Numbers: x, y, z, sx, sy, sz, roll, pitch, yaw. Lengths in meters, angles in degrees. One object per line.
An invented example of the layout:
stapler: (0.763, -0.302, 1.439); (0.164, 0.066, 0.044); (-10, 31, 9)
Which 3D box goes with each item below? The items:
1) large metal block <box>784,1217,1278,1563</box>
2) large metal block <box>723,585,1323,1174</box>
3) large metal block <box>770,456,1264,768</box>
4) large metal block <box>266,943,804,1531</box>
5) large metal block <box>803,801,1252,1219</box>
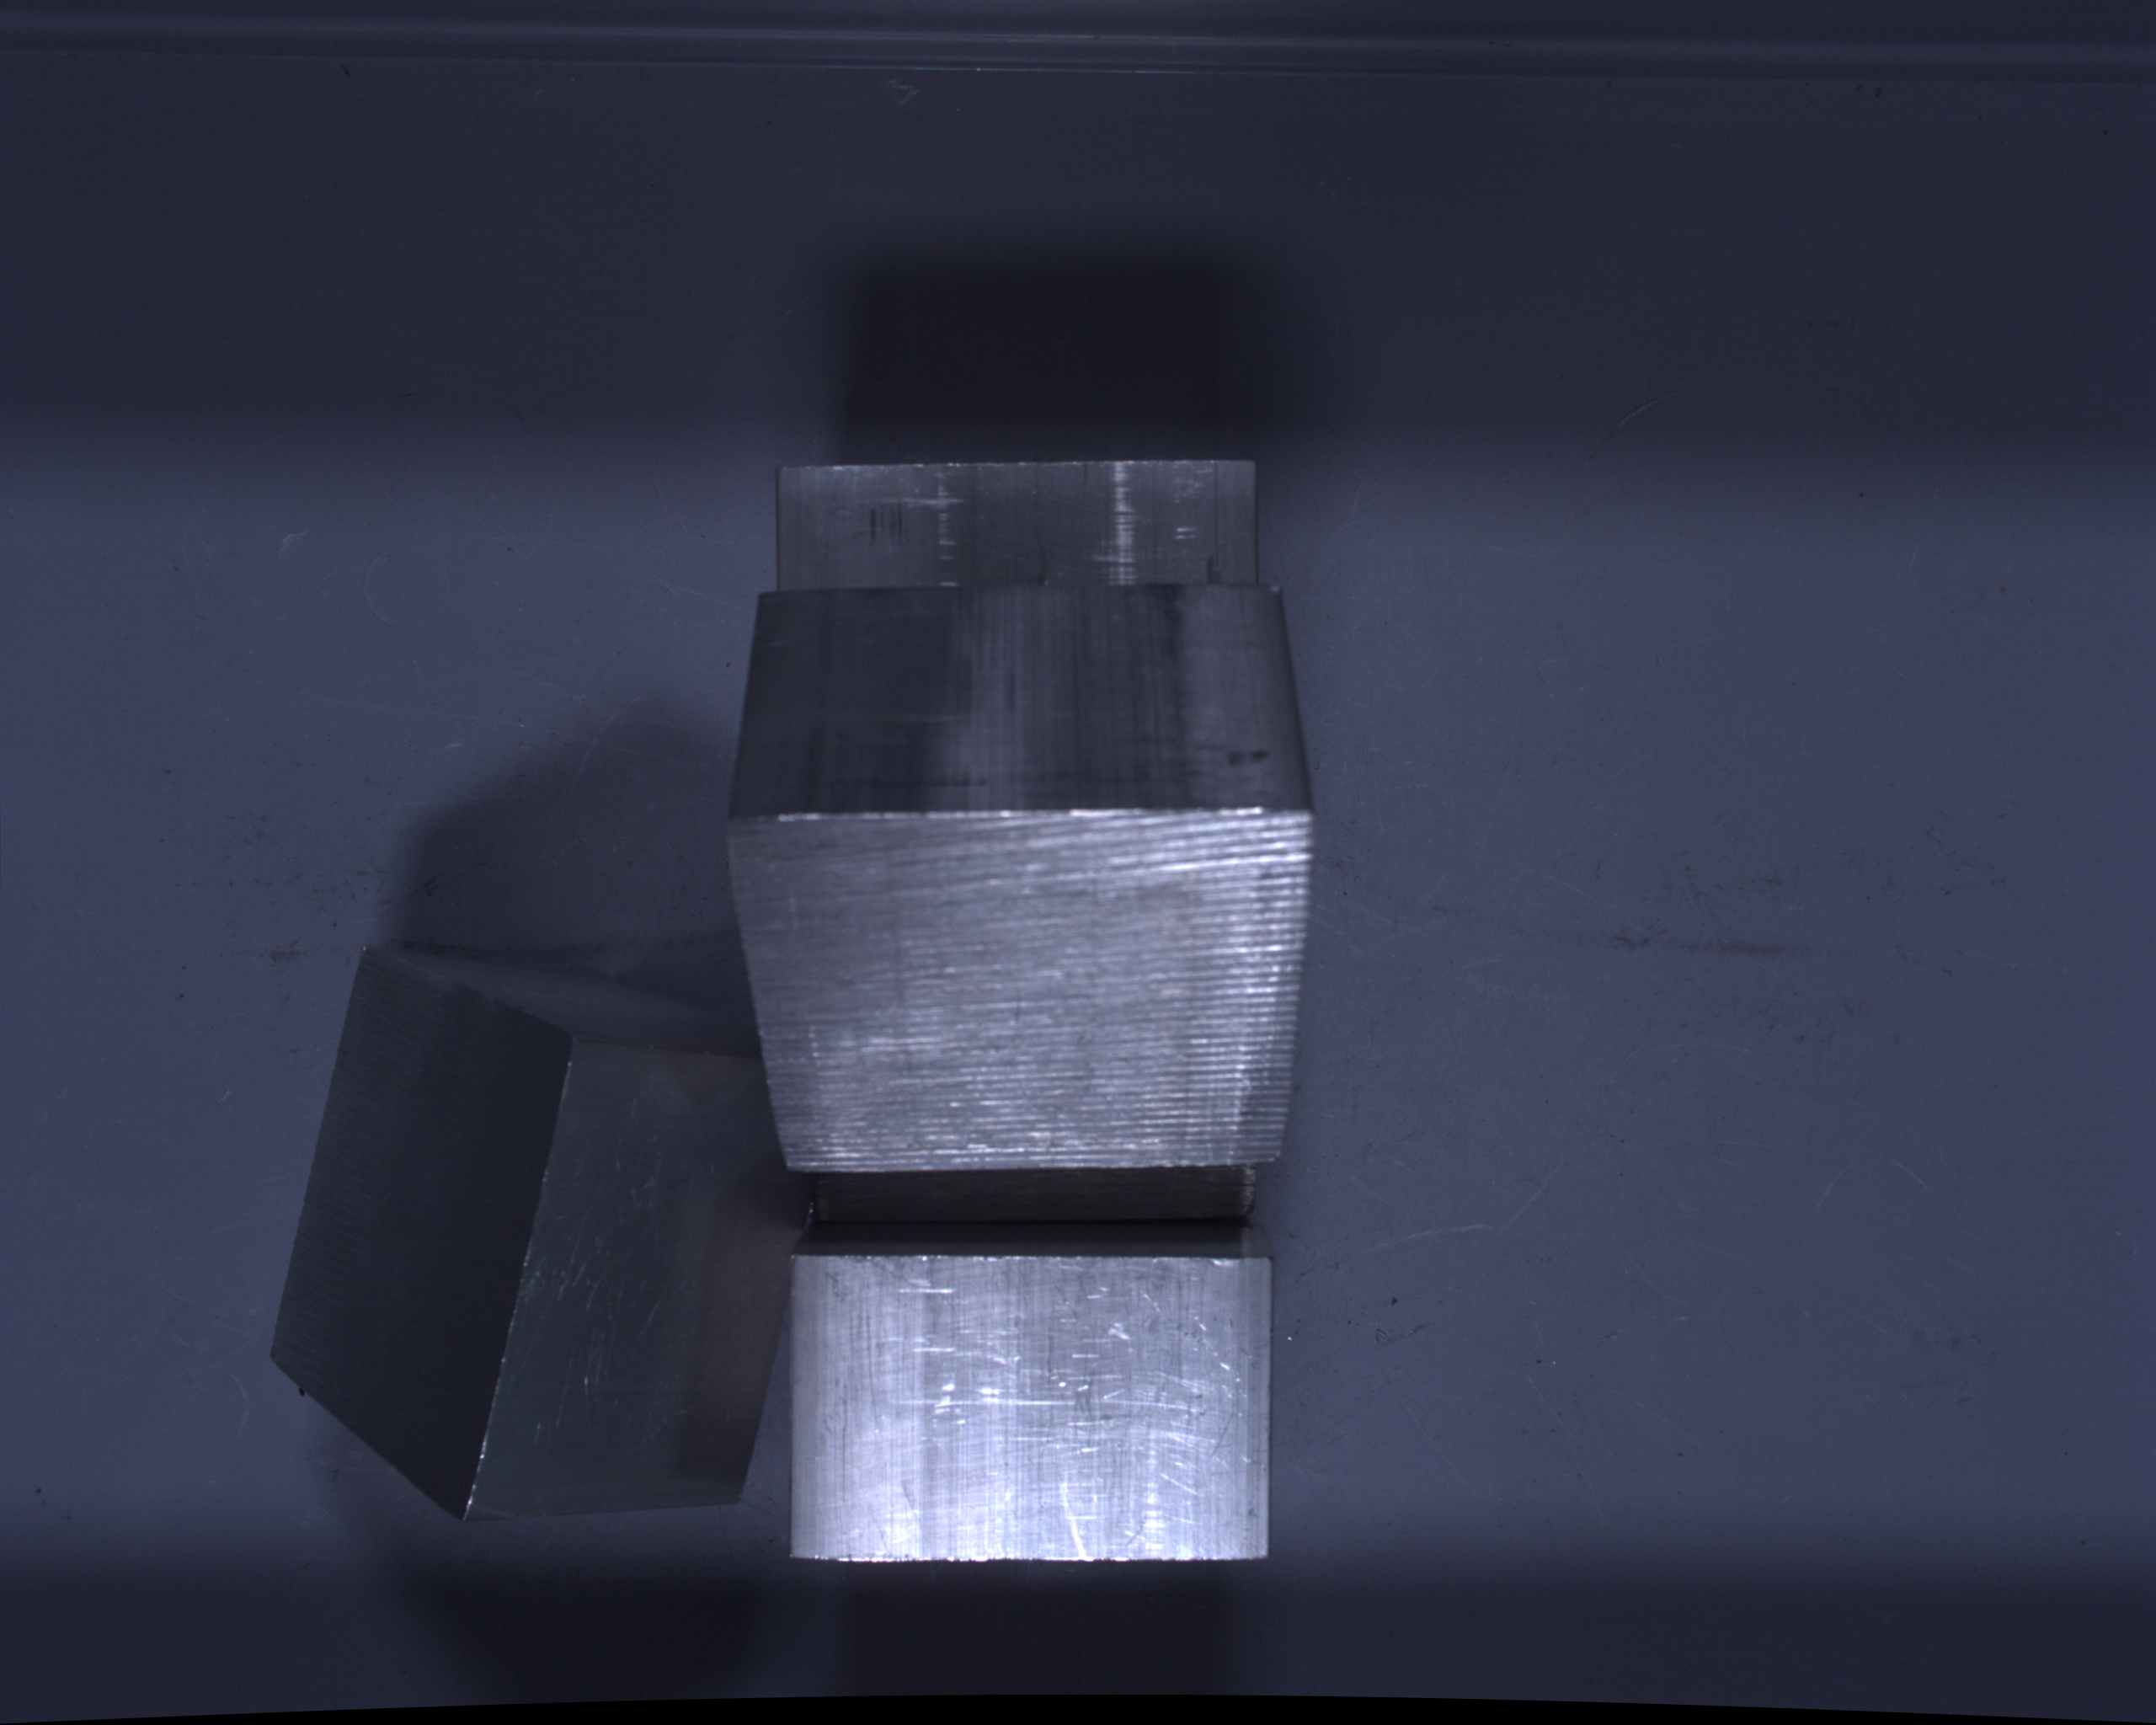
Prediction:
large metal block: (-0.008, 0.090, 0.382); (0.081, 0.080, 0.050); (0, 90, -1)
large metal block: (-0.007, 0.004, 0.326); (0.081, 0.079, 0.050); (-1, 45, -1)
large metal block: (-0.010, -0.041, 0.381); (0.081, 0.080, 0.050); (-1, 90, -1)
large metal block: (-0.096, 0.064, 0.373); (0.050, 0.080, 0.080); (12, 91, -43)
large metal block: (-0.010, 0.024, 0.399); (0.081, 0.050, 0.079); (-1, 90, -1)
